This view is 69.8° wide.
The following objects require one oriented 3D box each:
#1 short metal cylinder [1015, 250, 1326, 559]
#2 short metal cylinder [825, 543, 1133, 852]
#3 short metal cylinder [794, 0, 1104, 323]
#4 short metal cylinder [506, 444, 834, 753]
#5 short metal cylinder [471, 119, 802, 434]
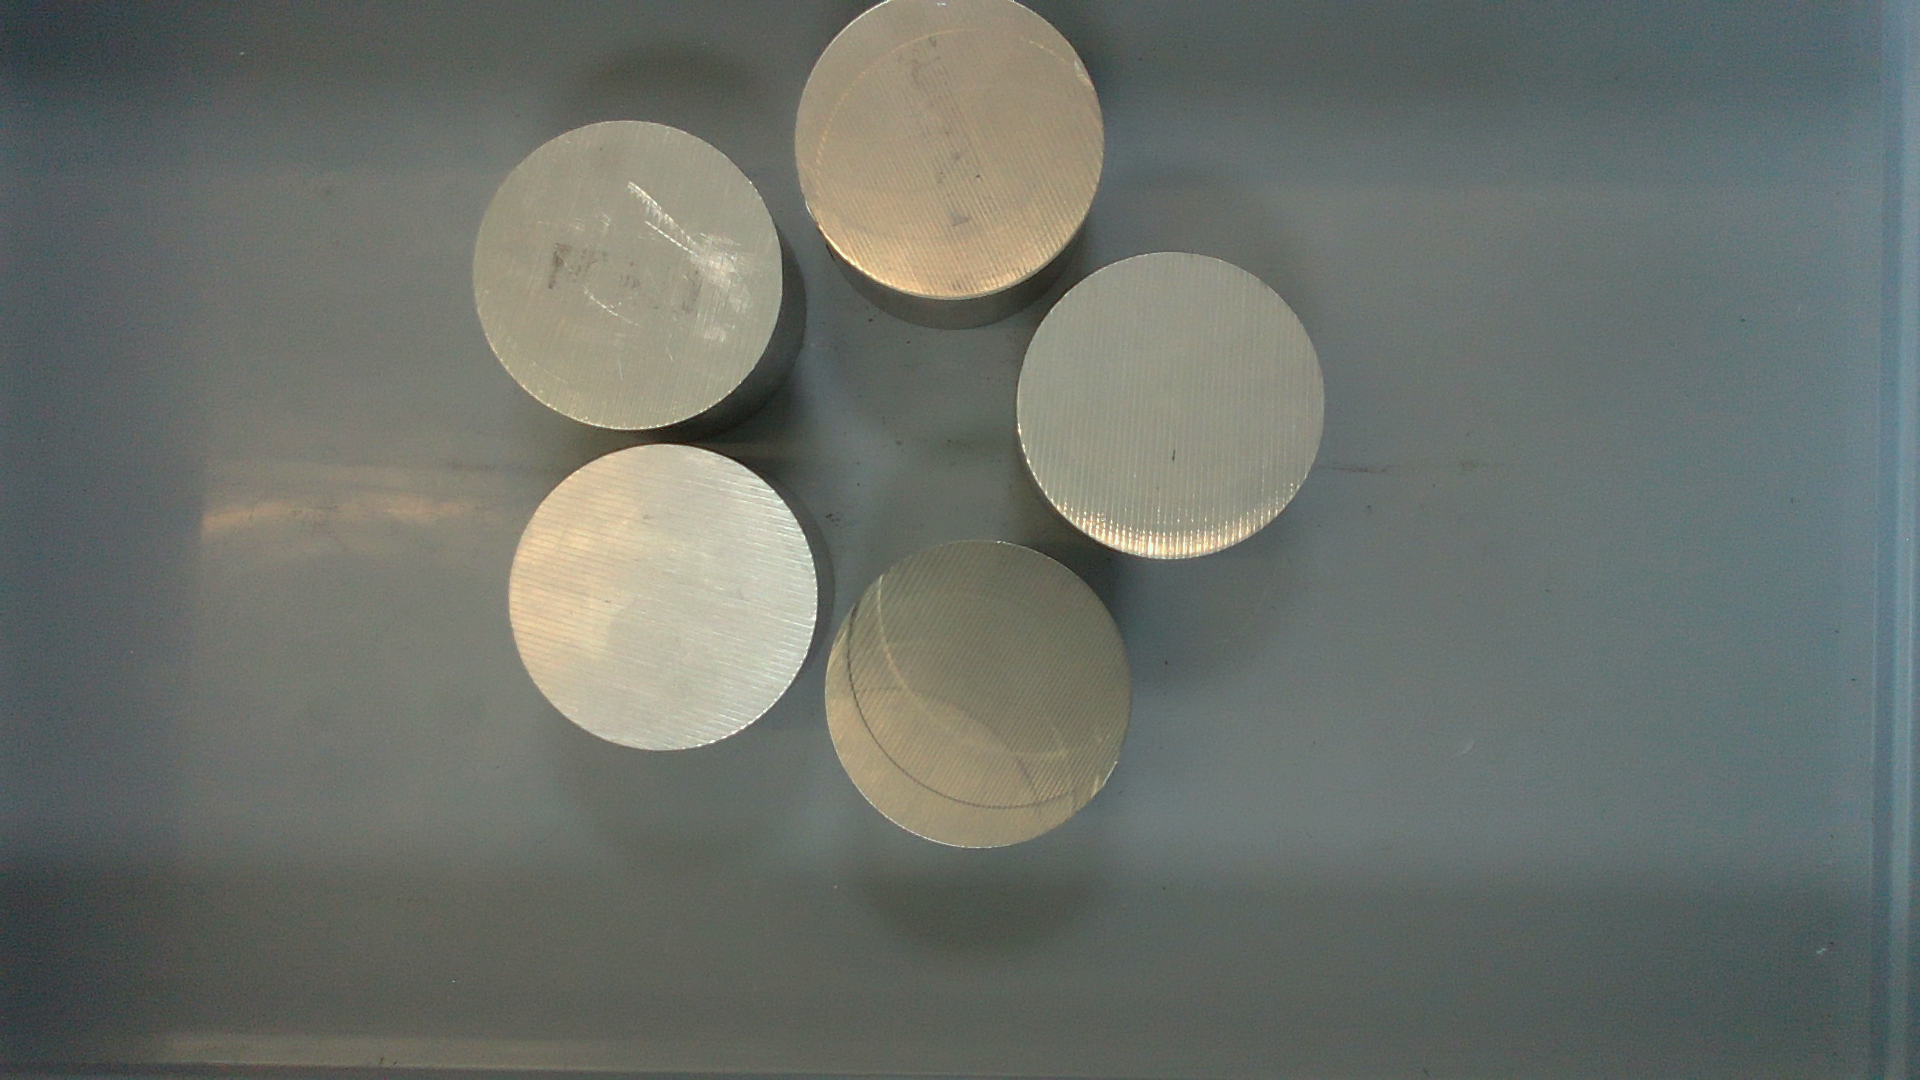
[{"bbox_3d":[0.055,-0.035,0.381,0.080,0.050,0.080,0,90,0],"label":"short metal cylinder"},{"bbox_3d":[0.005,0.041,0.381,0.080,0.050,0.080,0,90,0],"label":"short metal cylinder"},{"bbox_3d":[-0.003,-0.103,0.381,0.080,0.050,0.080,0,90,0],"label":"short metal cylinder"},{"bbox_3d":[-0.077,0.015,0.381,0.080,0.050,0.080,0,90,0],"label":"short metal cylinder"},{"bbox_3d":[-0.086,-0.069,0.380,0.080,0.050,0.080,0,90,0],"label":"short metal cylinder"}]
